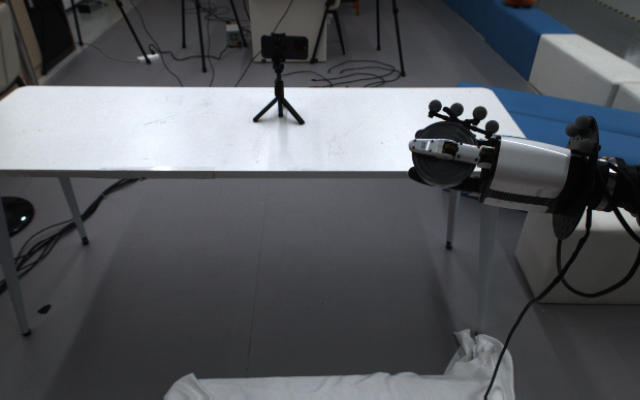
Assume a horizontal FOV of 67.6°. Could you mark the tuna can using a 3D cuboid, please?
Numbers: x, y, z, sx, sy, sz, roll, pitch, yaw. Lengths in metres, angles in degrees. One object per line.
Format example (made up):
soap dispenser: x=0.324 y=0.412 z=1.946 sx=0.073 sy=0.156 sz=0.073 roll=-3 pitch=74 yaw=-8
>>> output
tuna can: x=0.169 y=-0.061 z=0.650 sx=0.085 sy=0.085 sz=0.034 roll=13 pitch=-6 yaw=16
